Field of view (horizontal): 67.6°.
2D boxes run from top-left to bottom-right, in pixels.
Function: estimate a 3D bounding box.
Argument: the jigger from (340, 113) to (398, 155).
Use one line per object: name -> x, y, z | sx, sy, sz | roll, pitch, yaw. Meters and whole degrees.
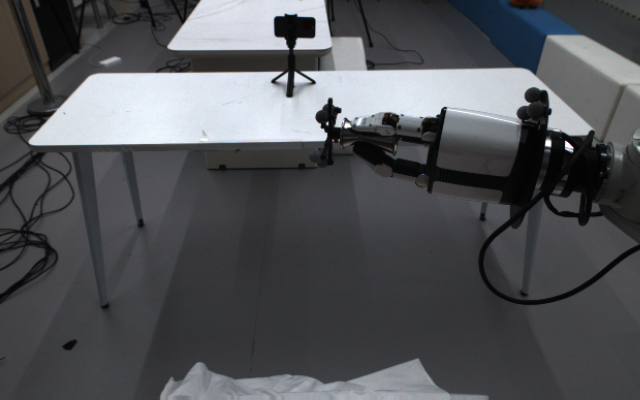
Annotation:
jigger -> 0.069, -0.084, 0.605 | 0.071, 0.043, 0.043 | 6, 35, 13
